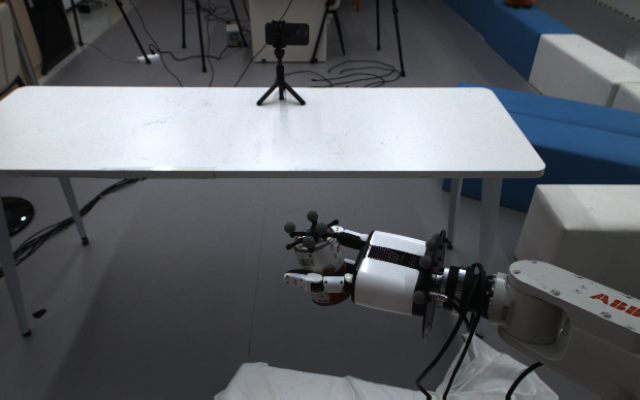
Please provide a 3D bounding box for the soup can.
[{"bbox_3d":[0.007,0.100,0.731,0.067,0.101,0.067,-16,22,7],"label":"soup can"}]
